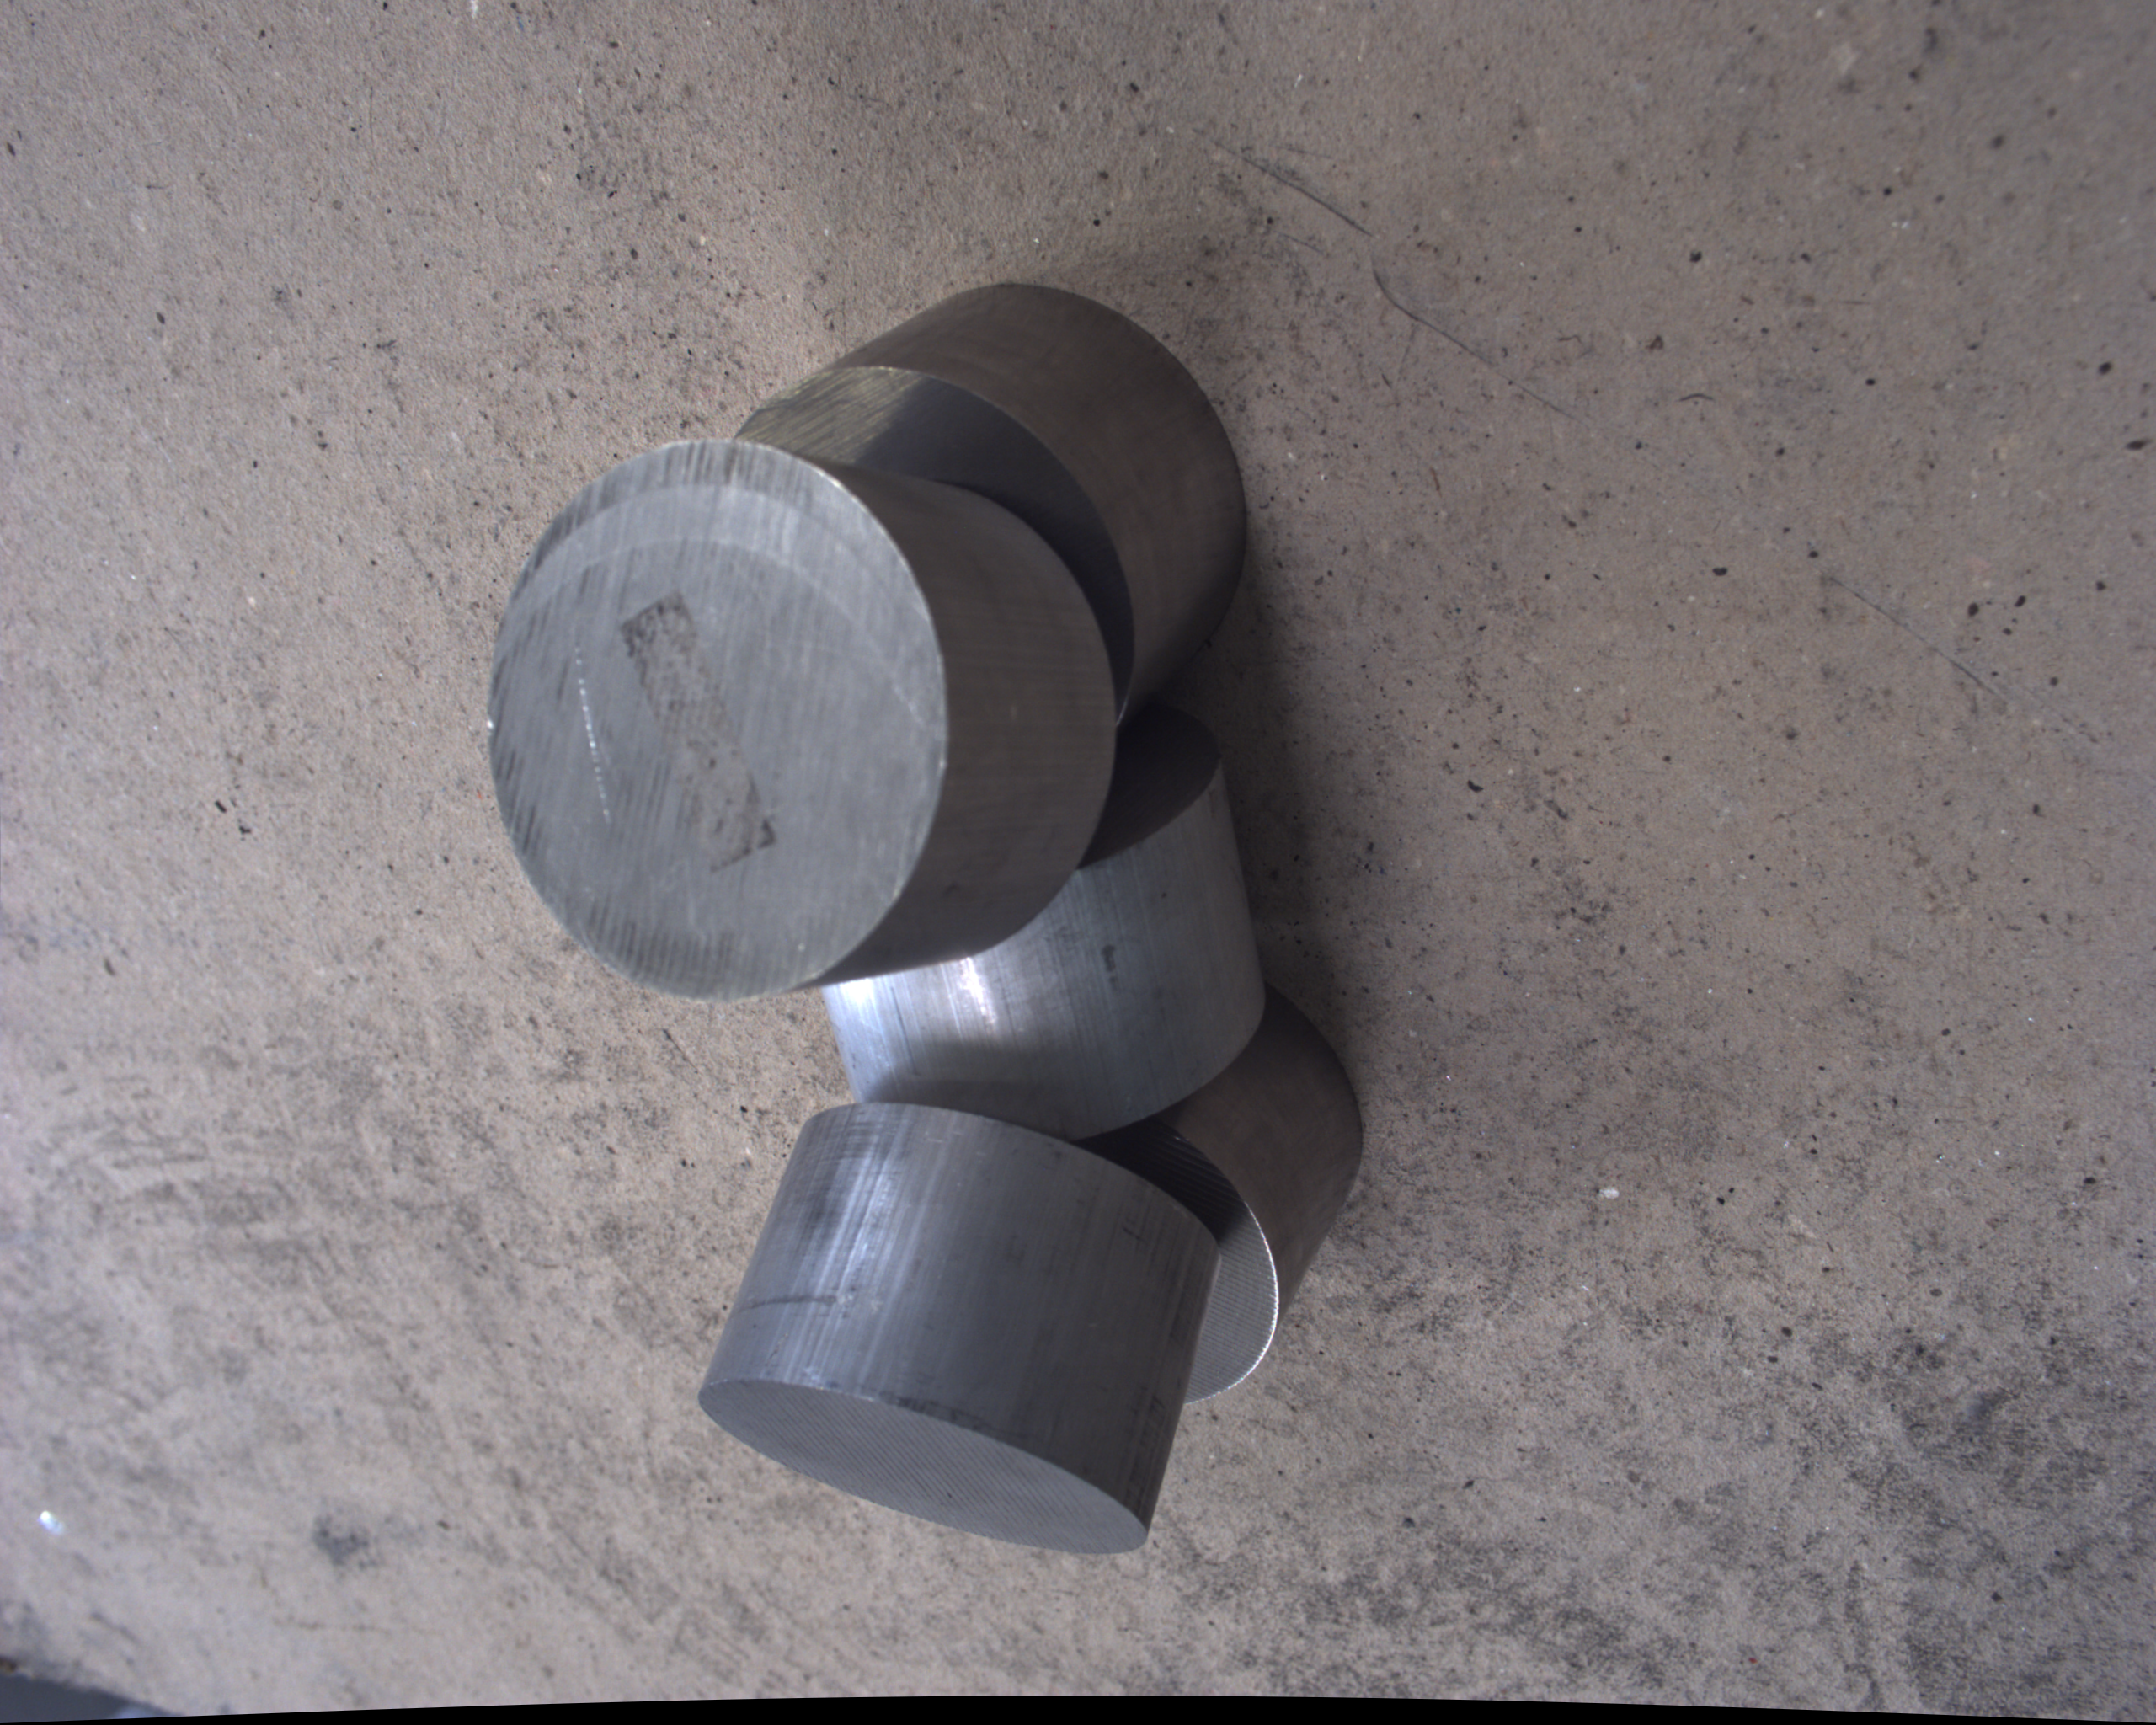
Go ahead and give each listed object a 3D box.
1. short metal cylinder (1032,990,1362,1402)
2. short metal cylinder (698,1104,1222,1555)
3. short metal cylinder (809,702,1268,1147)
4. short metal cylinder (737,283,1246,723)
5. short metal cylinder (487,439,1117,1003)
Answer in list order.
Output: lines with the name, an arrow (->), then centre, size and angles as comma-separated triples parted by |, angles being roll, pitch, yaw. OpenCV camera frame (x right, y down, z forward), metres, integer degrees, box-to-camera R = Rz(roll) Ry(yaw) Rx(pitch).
short metal cylinder -> 0.012, 0.063, 0.425 | 0.080, 0.050, 0.079 | 13, 124, 21
short metal cylinder -> -0.020, 0.084, 0.369 | 0.080, 0.050, 0.080 | 14, 151, 8
short metal cylinder -> -0.009, 0.009, 0.384 | 0.080, 0.080, 0.050 | 2, 119, 27
short metal cylinder -> -0.017, -0.056, 0.367 | 0.080, 0.050, 0.079 | 13, 124, 21
short metal cylinder -> -0.041, -0.021, 0.317 | 0.080, 0.050, 0.079 | 2, 94, 27
